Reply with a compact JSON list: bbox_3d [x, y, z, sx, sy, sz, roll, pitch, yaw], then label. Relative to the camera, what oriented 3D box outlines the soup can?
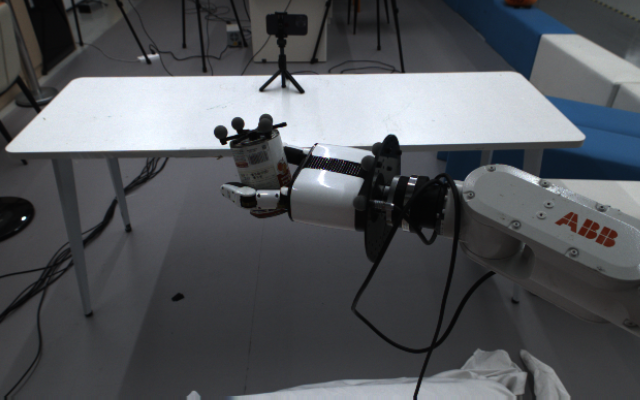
[{"bbox_3d":[-0.071,-0.035,0.636,0.067,0.101,0.067,-13,20,5],"label":"soup can"}]
